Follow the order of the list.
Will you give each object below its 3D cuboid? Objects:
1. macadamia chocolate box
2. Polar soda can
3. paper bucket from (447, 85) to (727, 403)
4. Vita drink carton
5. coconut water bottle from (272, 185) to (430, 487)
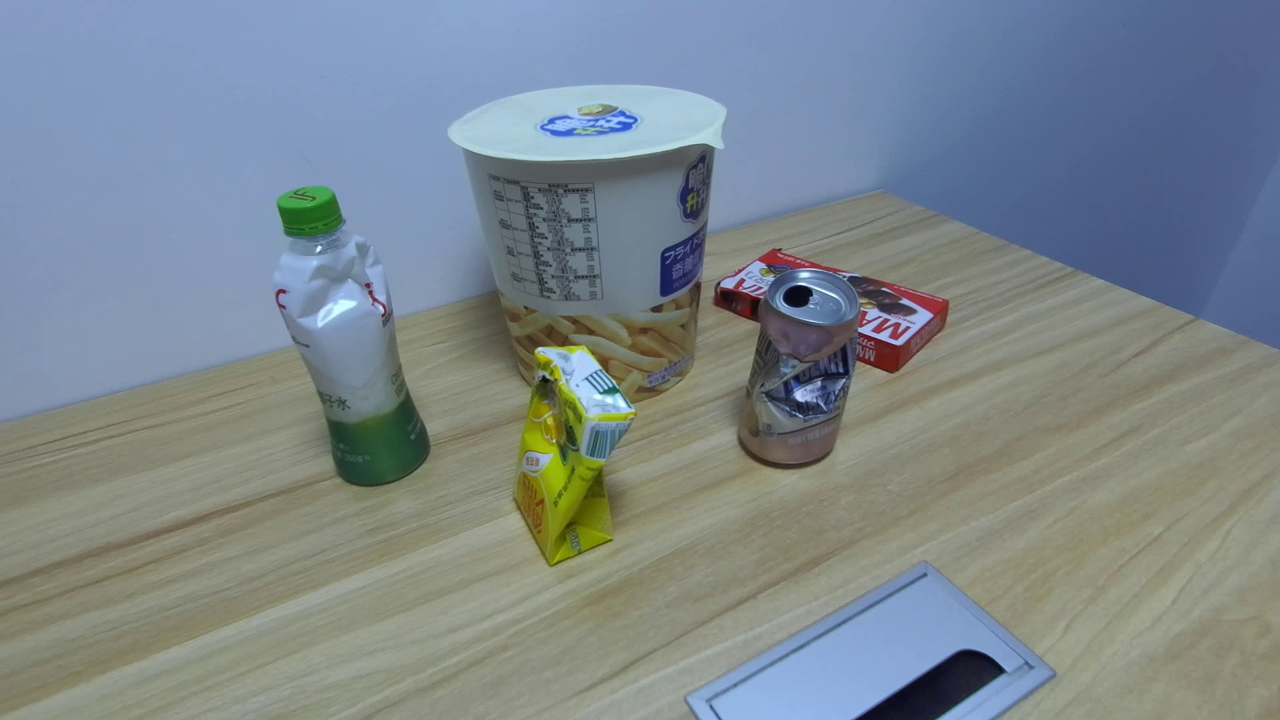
[{"bbox_3d":[0.165,-0.051,0.622,0.182,0.028,0.106,25,42,36],"label":"macadamia chocolate box"},{"bbox_3d":[0.102,0.010,0.452,0.066,0.122,0.071,12,36,11],"label":"Polar soda can"},{"bbox_3d":[-0.031,-0.086,0.531,0.198,0.195,0.198,-2,34,2],"label":"paper bucket"},{"bbox_3d":[-0.039,0.053,0.408,0.042,0.108,0.086,-4,33,-29],"label":"Vita drink carton"},{"bbox_3d":[-0.179,-0.011,0.432,0.069,0.186,0.069,-2,35,2],"label":"coconut water bottle"}]
